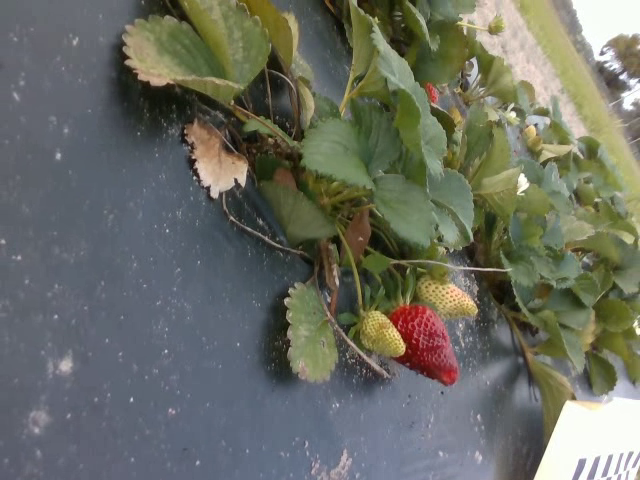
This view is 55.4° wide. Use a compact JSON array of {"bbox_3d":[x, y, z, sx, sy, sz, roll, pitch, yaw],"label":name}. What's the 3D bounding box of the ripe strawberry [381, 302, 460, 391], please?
[{"bbox_3d":[0.061,0.065,0.350,0.046,0.046,0.059,12,29,-46],"label":"ripe strawberry"}]
